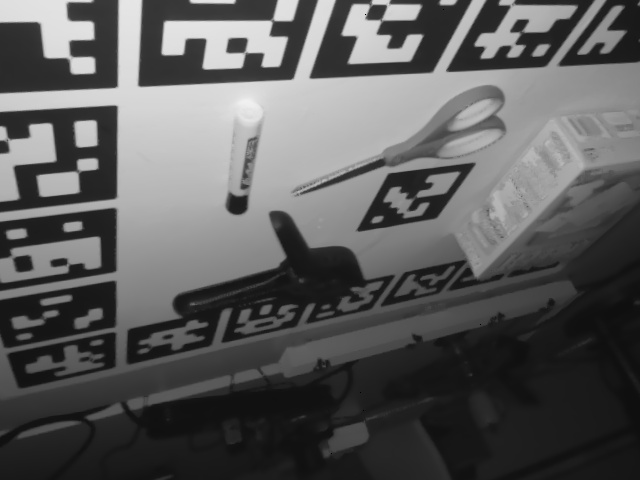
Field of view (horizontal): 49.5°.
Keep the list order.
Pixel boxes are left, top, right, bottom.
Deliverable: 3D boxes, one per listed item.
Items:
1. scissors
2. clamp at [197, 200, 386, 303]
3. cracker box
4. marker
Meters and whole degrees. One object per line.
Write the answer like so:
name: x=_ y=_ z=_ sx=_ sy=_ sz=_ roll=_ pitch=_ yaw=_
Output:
scissors: x=0.084 y=-0.079 z=0.593 sx=0.202 sy=0.016 sz=0.088 roll=-22 pitch=153 yaw=6
clamp: x=-0.002 y=0.026 z=0.727 sx=0.205 sy=0.037 sz=0.163 roll=12 pitch=139 yaw=-45
cracker box: x=0.292 y=-0.051 z=0.730 sx=0.166 sy=0.072 sz=0.210 roll=-9 pitch=149 yaw=-22
marker: x=-0.048 y=-0.059 z=0.537 sx=0.020 sy=0.020 sz=0.119 roll=-12 pitch=151 yaw=-17
